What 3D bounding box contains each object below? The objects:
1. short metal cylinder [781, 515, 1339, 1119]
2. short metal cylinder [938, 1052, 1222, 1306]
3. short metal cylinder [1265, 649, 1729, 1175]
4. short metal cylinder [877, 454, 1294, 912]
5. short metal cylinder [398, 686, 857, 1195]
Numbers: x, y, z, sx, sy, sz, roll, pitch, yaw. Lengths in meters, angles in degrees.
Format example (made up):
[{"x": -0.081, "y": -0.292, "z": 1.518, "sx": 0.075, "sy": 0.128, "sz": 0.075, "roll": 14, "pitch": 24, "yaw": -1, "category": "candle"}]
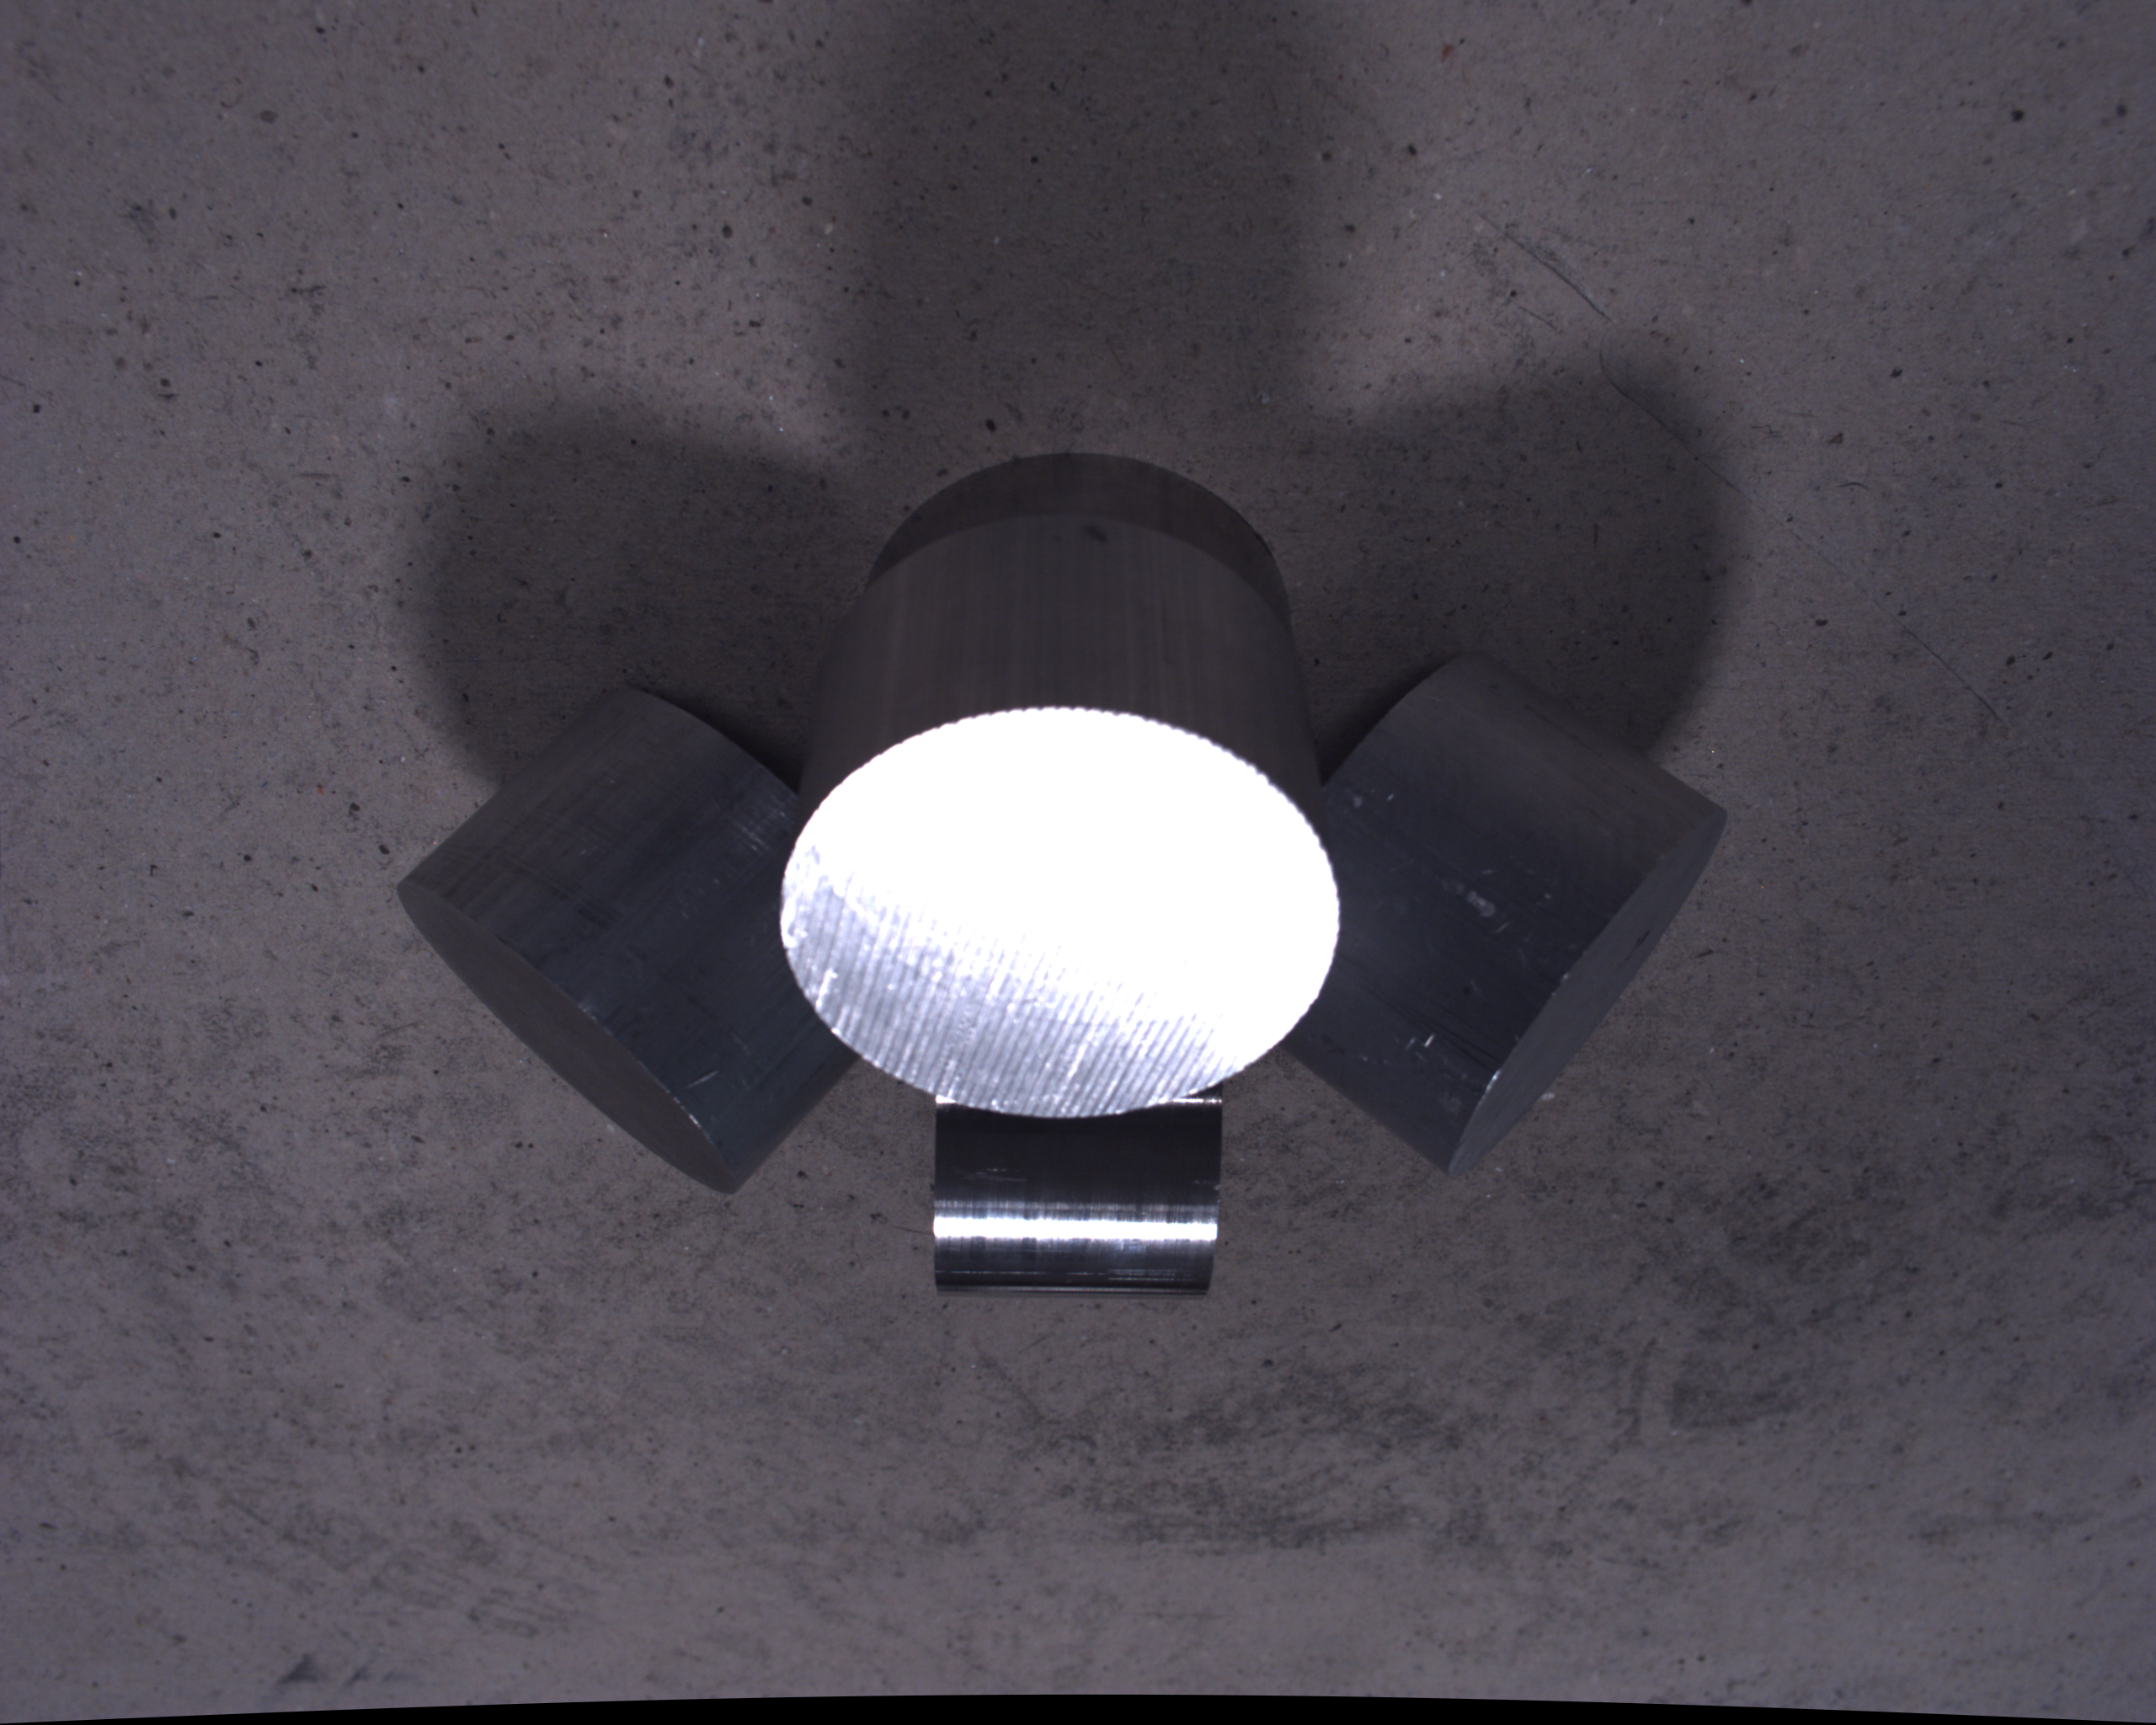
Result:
[{"x": -0.003, "y": -0.006, "z": 0.321, "sx": 0.081, "sy": 0.050, "sz": 0.079, "roll": 0, "pitch": 130, "yaw": 0, "category": "short metal cylinder"}, {"x": -0.001, "y": 0.047, "z": 0.411, "sx": 0.050, "sy": 0.080, "sz": 0.079, "roll": 1, "pitch": 130, "yaw": -2, "category": "short metal cylinder"}, {"x": 0.071, "y": 0.009, "z": 0.374, "sx": 0.050, "sy": 0.081, "sz": 0.079, "roll": 37, "pitch": 131, "yaw": 20, "category": "short metal cylinder"}, {"x": 0.000, "y": -0.025, "z": 0.371, "sx": 0.081, "sy": 0.050, "sz": 0.079, "roll": 0, "pitch": 130, "yaw": 0, "category": "short metal cylinder"}, {"x": -0.075, "y": 0.015, "z": 0.377, "sx": 0.080, "sy": 0.050, "sz": 0.080, "roll": 35, "pitch": 158, "yaw": 17, "category": "short metal cylinder"}]
